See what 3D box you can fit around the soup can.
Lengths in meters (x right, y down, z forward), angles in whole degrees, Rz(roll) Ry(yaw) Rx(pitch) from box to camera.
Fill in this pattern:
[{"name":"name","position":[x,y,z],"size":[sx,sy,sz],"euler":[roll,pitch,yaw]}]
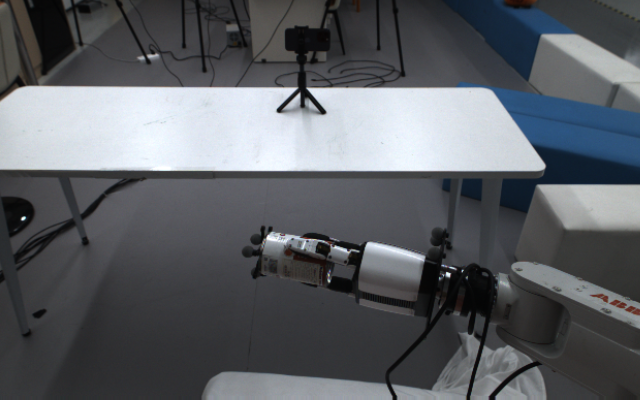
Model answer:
[{"name":"soup can","position":[-0.030,0.088,0.716],"size":[0.101,0.067,0.067],"euler":[9,35,10]}]
